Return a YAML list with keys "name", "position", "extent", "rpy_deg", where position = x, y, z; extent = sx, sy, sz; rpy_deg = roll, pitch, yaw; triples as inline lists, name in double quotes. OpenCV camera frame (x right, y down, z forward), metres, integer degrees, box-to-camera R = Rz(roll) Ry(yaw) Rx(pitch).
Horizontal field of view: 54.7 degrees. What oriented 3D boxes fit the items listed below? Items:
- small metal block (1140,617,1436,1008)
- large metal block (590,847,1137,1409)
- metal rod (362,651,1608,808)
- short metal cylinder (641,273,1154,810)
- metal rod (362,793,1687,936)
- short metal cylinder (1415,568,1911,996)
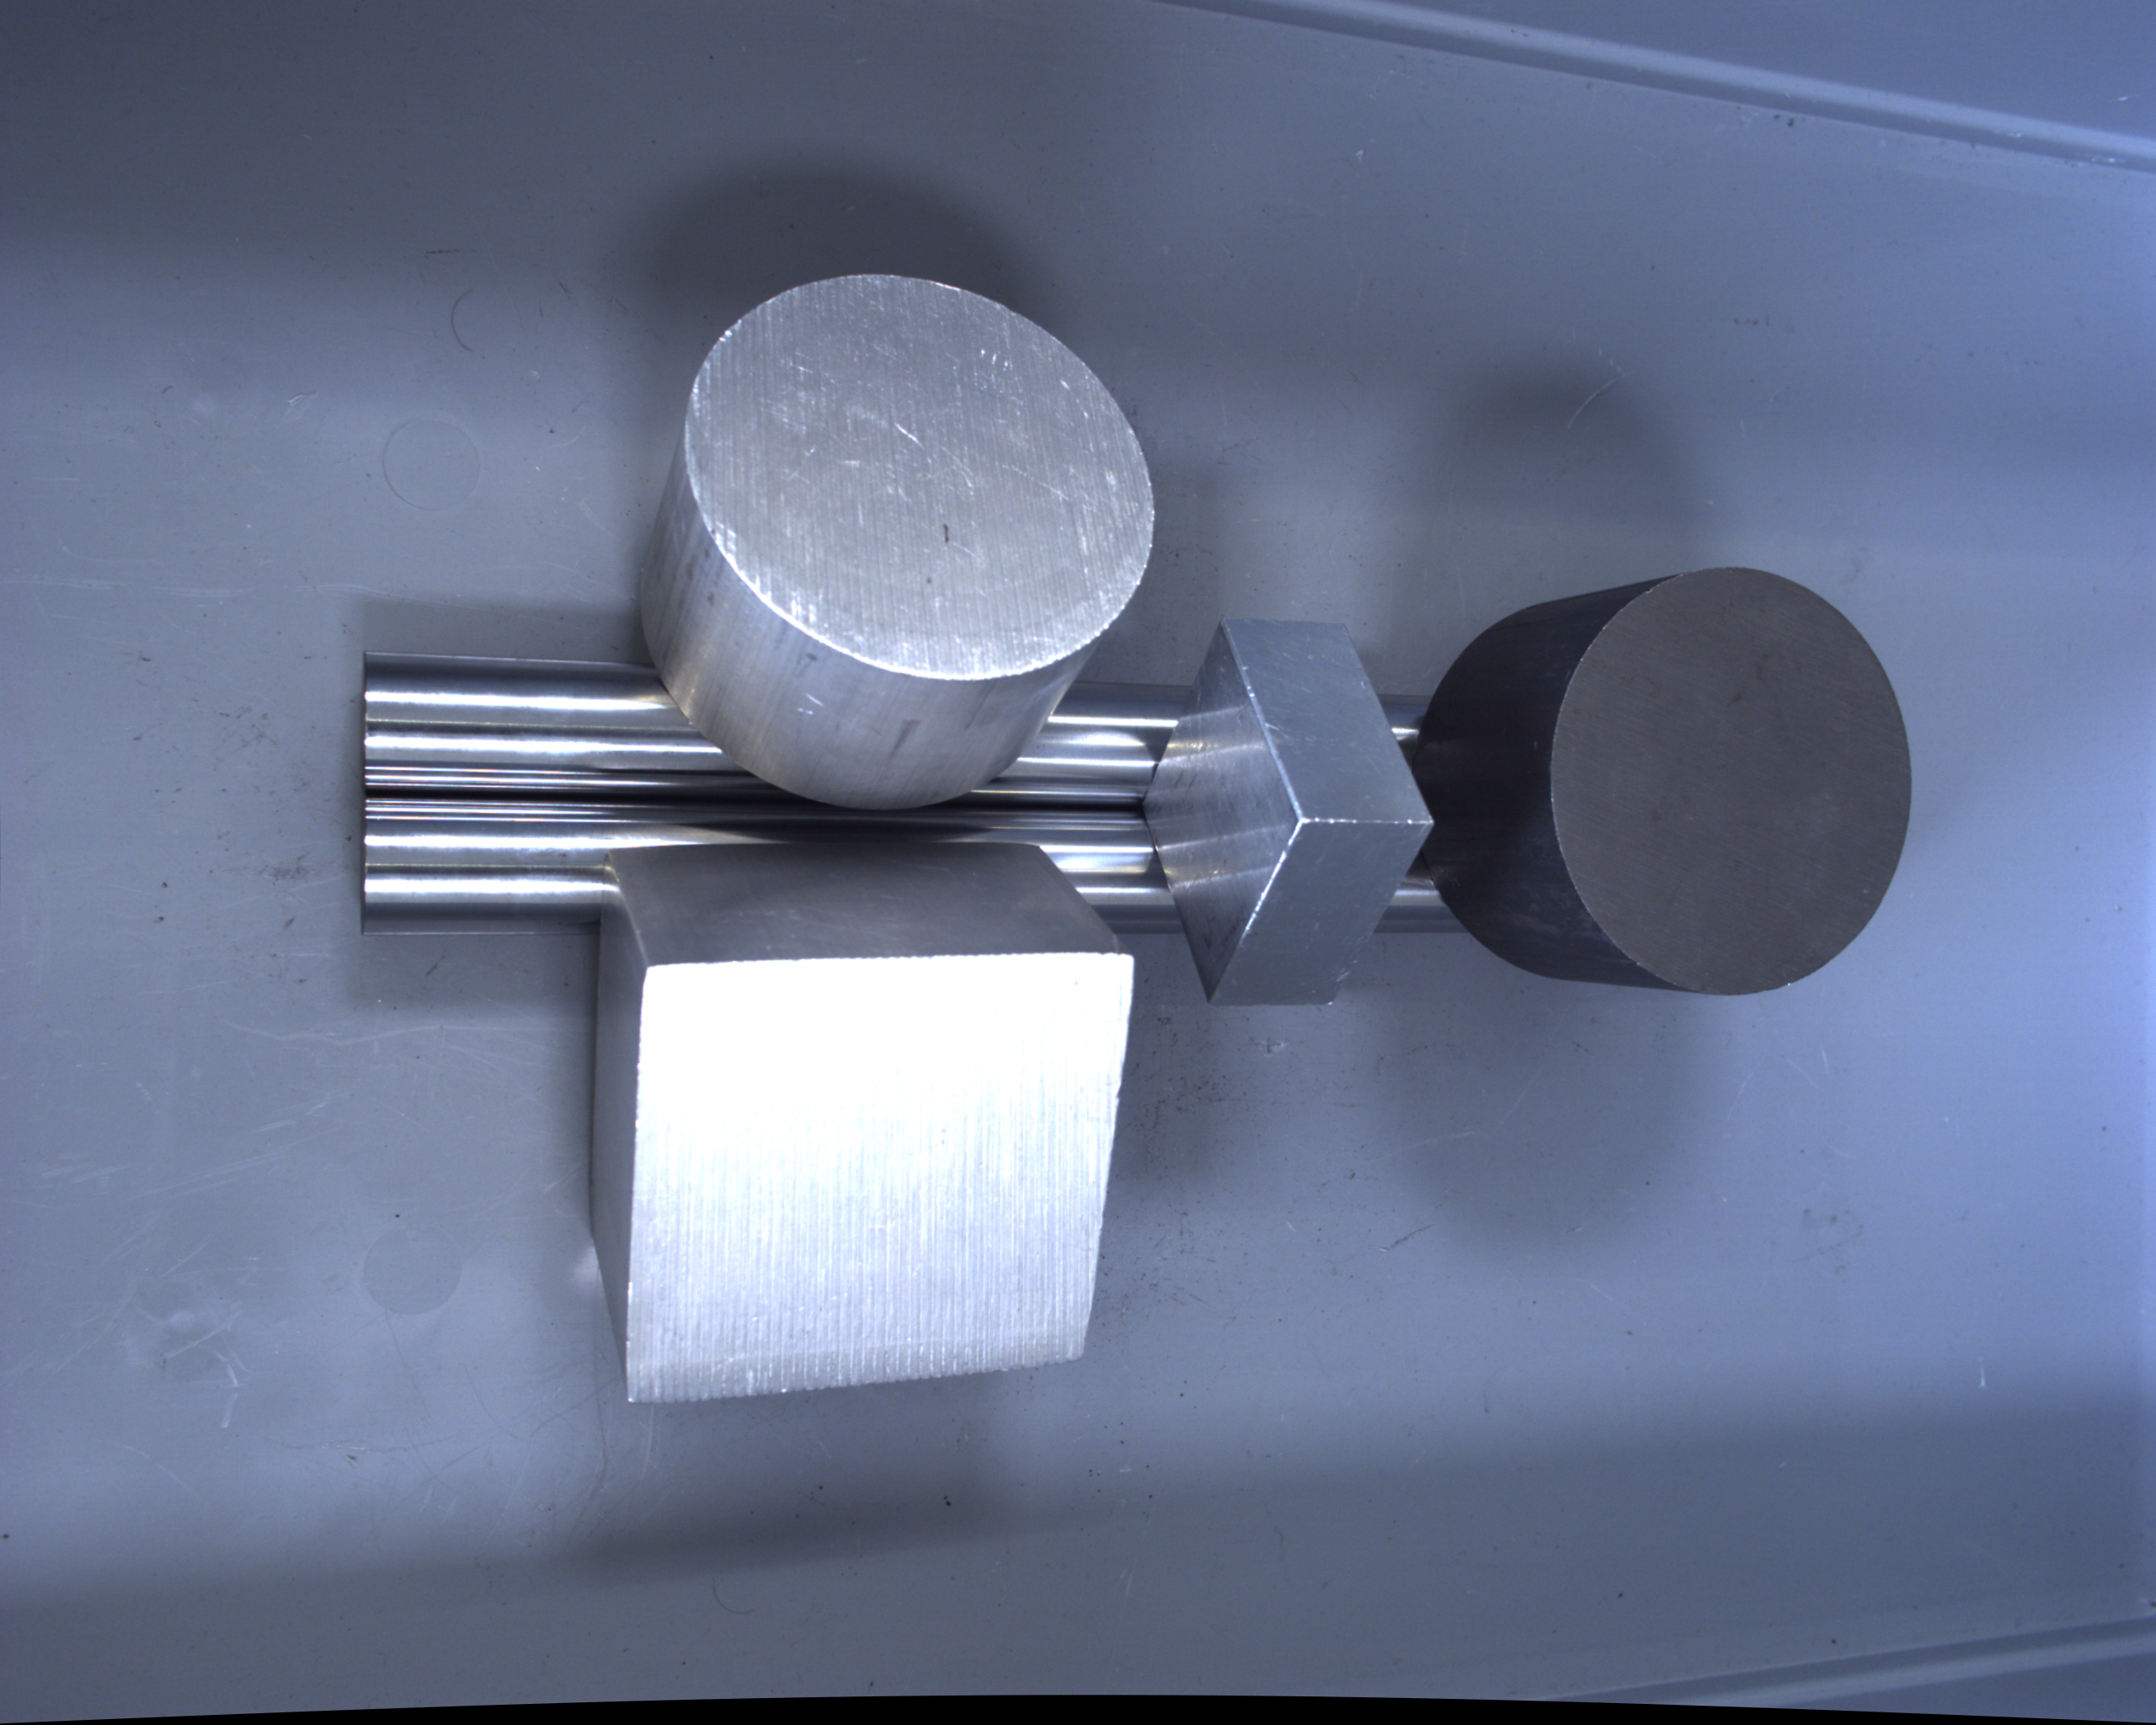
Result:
- name: "small metal block"
  position: [0.036, -0.009, 0.379]
  extent: [0.025, 0.050, 0.050]
  rpy_deg: [1, 48, -20]
- name: "large metal block"
  position: [-0.041, 0.044, 0.366]
  extent: [0.081, 0.050, 0.079]
  rpy_deg: [-1, 111, -20]
- name: "metal rod"
  position: [0.017, -0.023, 0.416]
  extent: [0.303, 0.025, 0.025]
  rpy_deg: [1, 90, -20]
- name: "short metal cylinder"
  position: [-0.033, -0.056, 0.368]
  extent: [0.081, 0.050, 0.080]
  rpy_deg: [8, 63, -17]
- name: "metal rod"
  position: [0.017, 0.002, 0.416]
  extent: [0.303, 0.025, 0.025]
  rpy_deg: [1, 90, -20]
- name: "short metal cylinder"
  position: [0.114, -0.015, 0.411]
  extent: [0.081, 0.050, 0.079]
  rpy_deg: [0, 90, -20]
